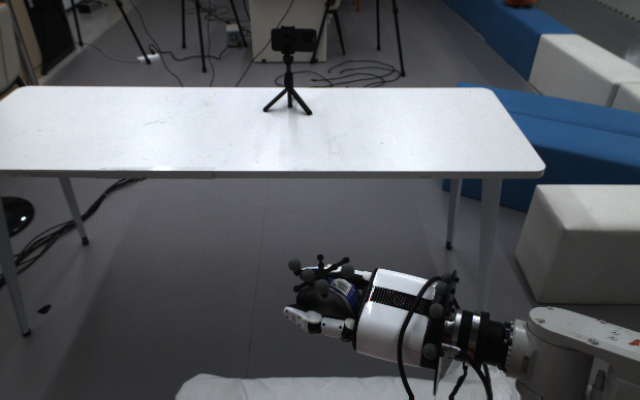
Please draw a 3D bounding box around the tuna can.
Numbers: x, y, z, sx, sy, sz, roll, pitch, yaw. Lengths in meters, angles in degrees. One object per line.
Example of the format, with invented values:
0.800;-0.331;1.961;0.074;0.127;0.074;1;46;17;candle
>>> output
0.015;0.139;0.658;0.085;0.085;0.034;17;37;20;tuna can
